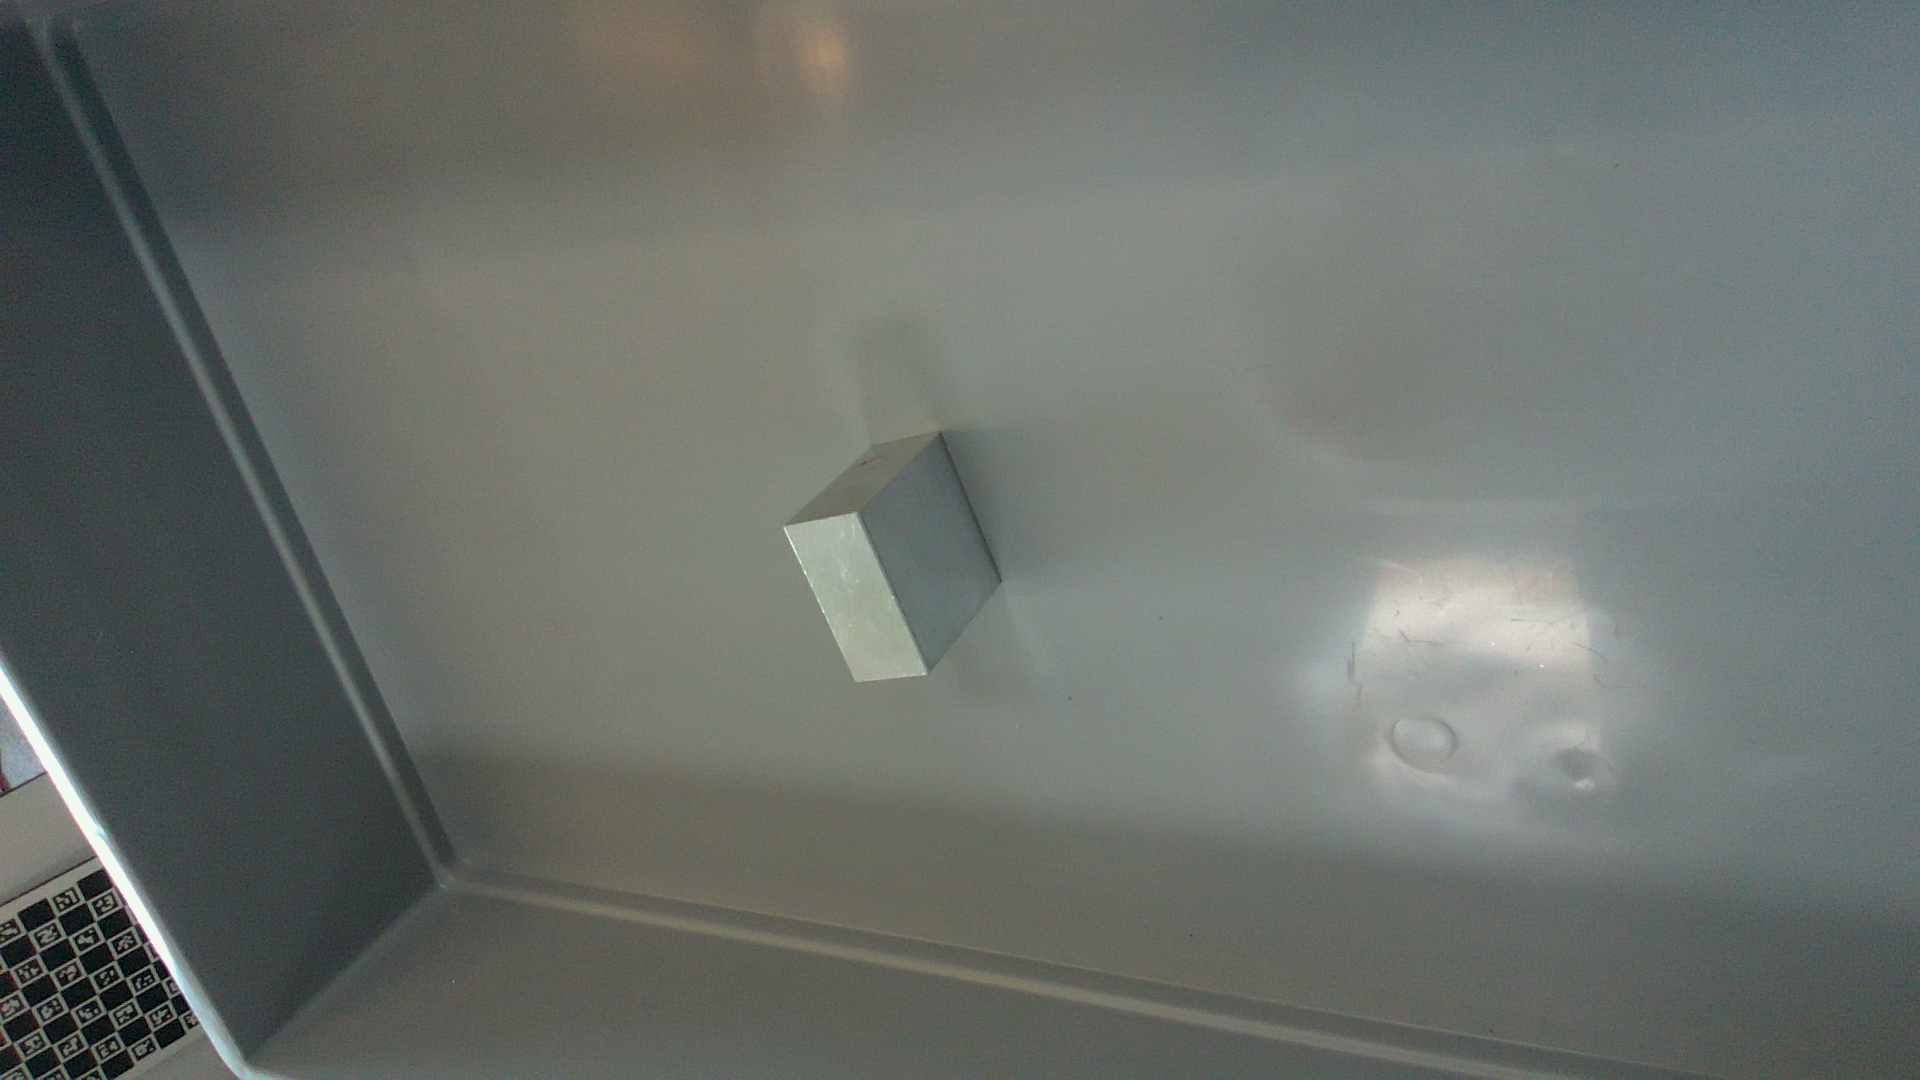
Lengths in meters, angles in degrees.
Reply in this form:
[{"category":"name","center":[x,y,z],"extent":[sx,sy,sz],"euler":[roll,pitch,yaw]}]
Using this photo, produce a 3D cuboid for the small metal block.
[{"category":"small metal block","center":[-0.017,0.005,0.385],"extent":[0.025,0.050,0.050],"euler":[-9,113,32]}]
